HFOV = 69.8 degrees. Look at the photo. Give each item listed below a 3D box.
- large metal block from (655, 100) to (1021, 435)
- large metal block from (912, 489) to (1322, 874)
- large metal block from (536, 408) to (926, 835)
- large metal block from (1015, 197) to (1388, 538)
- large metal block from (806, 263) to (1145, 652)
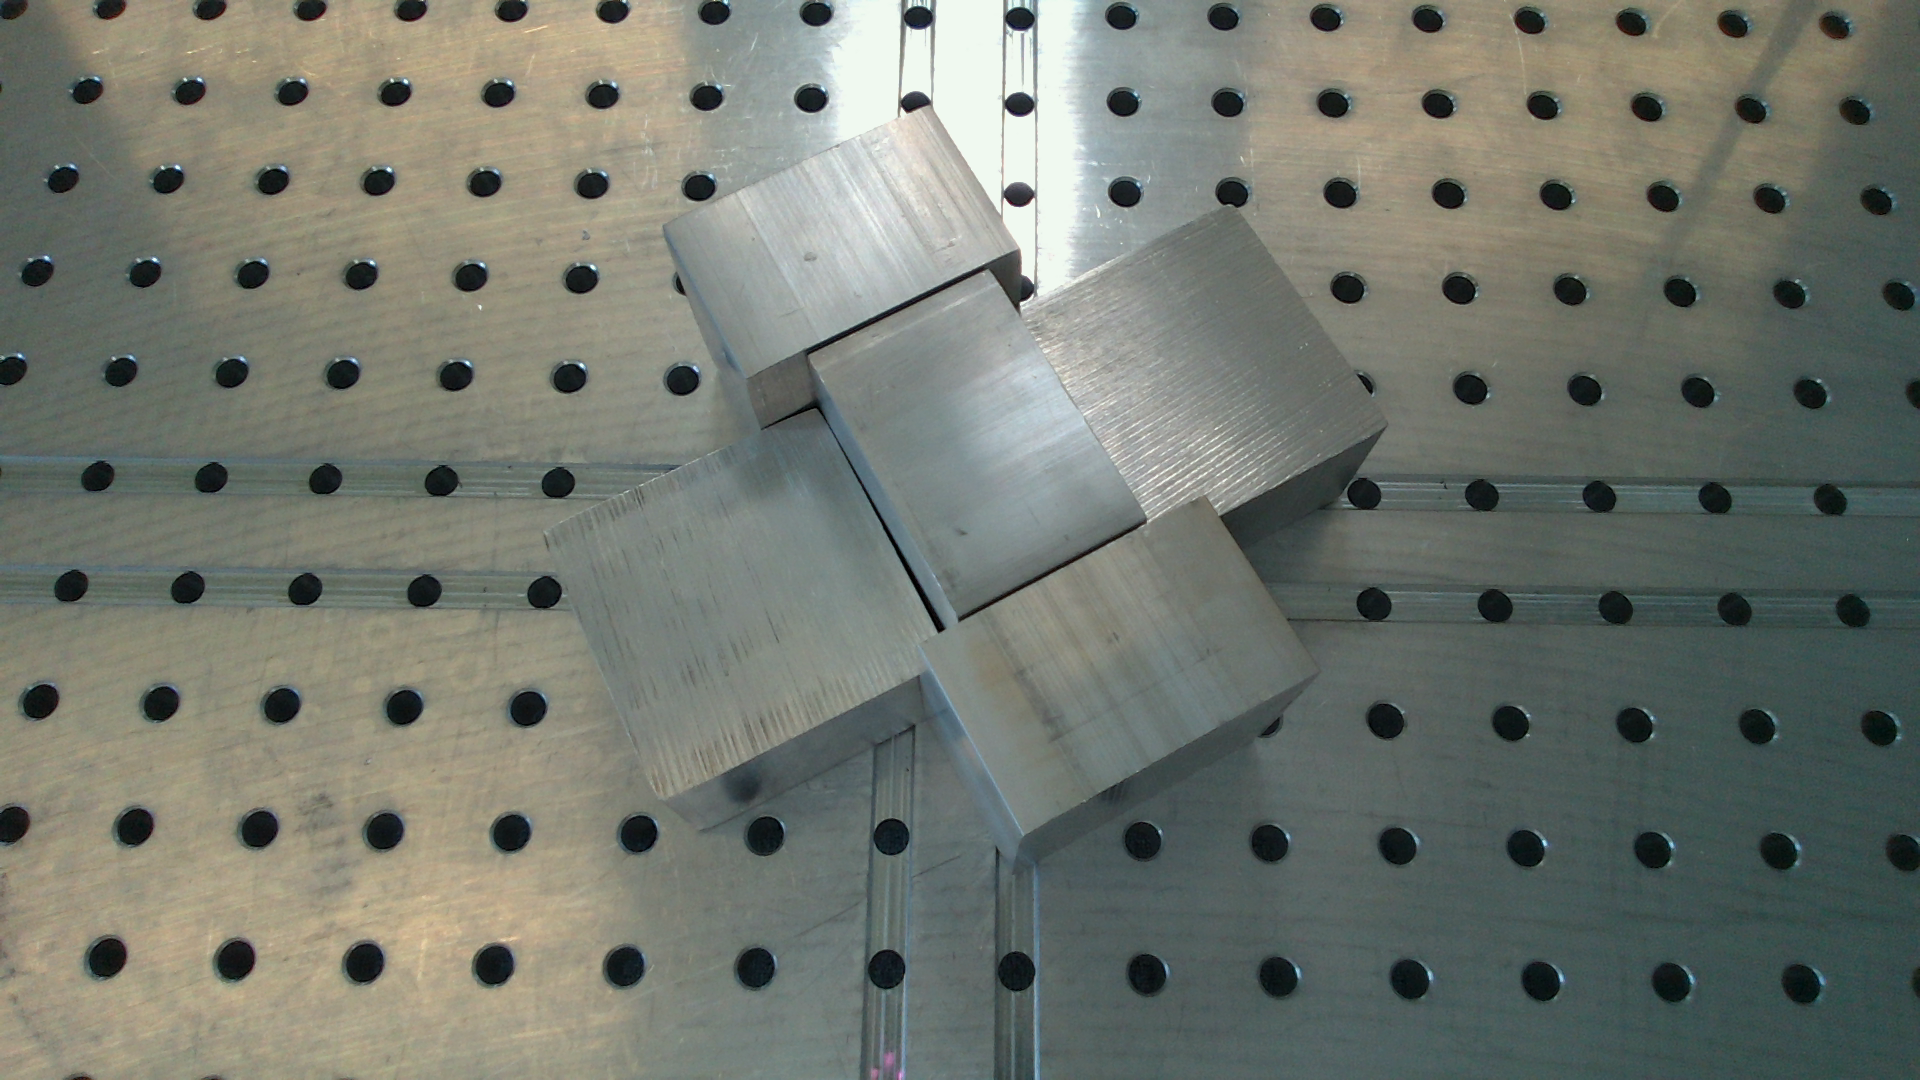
[{"bbox_3d":[-0.031,-0.065,0.391,0.080,0.080,0.050,-27,72,-9],"label":"large metal block"},{"bbox_3d":[0.036,0.040,0.353,0.080,0.080,0.050,-27,72,-10],"label":"large metal block"},{"bbox_3d":[-0.057,0.023,0.376,0.080,0.050,0.080,-25,71,-9],"label":"large metal block"},{"bbox_3d":[0.061,-0.038,0.397,0.080,0.050,0.080,-27,74,-9],"label":"large metal block"},{"bbox_3d":[0.003,-0.013,0.372,0.050,0.080,0.080,-27,72,-9],"label":"large metal block"}]
